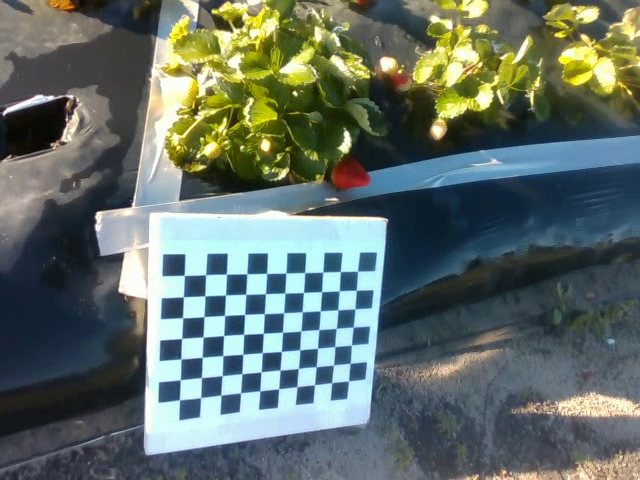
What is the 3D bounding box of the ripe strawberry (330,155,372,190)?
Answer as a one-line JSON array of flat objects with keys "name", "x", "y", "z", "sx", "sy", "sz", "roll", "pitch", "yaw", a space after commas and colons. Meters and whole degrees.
[{"name": "ripe strawberry", "x": 0.041, "y": -0.082, "z": 0.742, "sx": 0.064, "sy": 0.045, "sz": 0.049, "roll": 28, "pitch": 2, "yaw": 37}]
